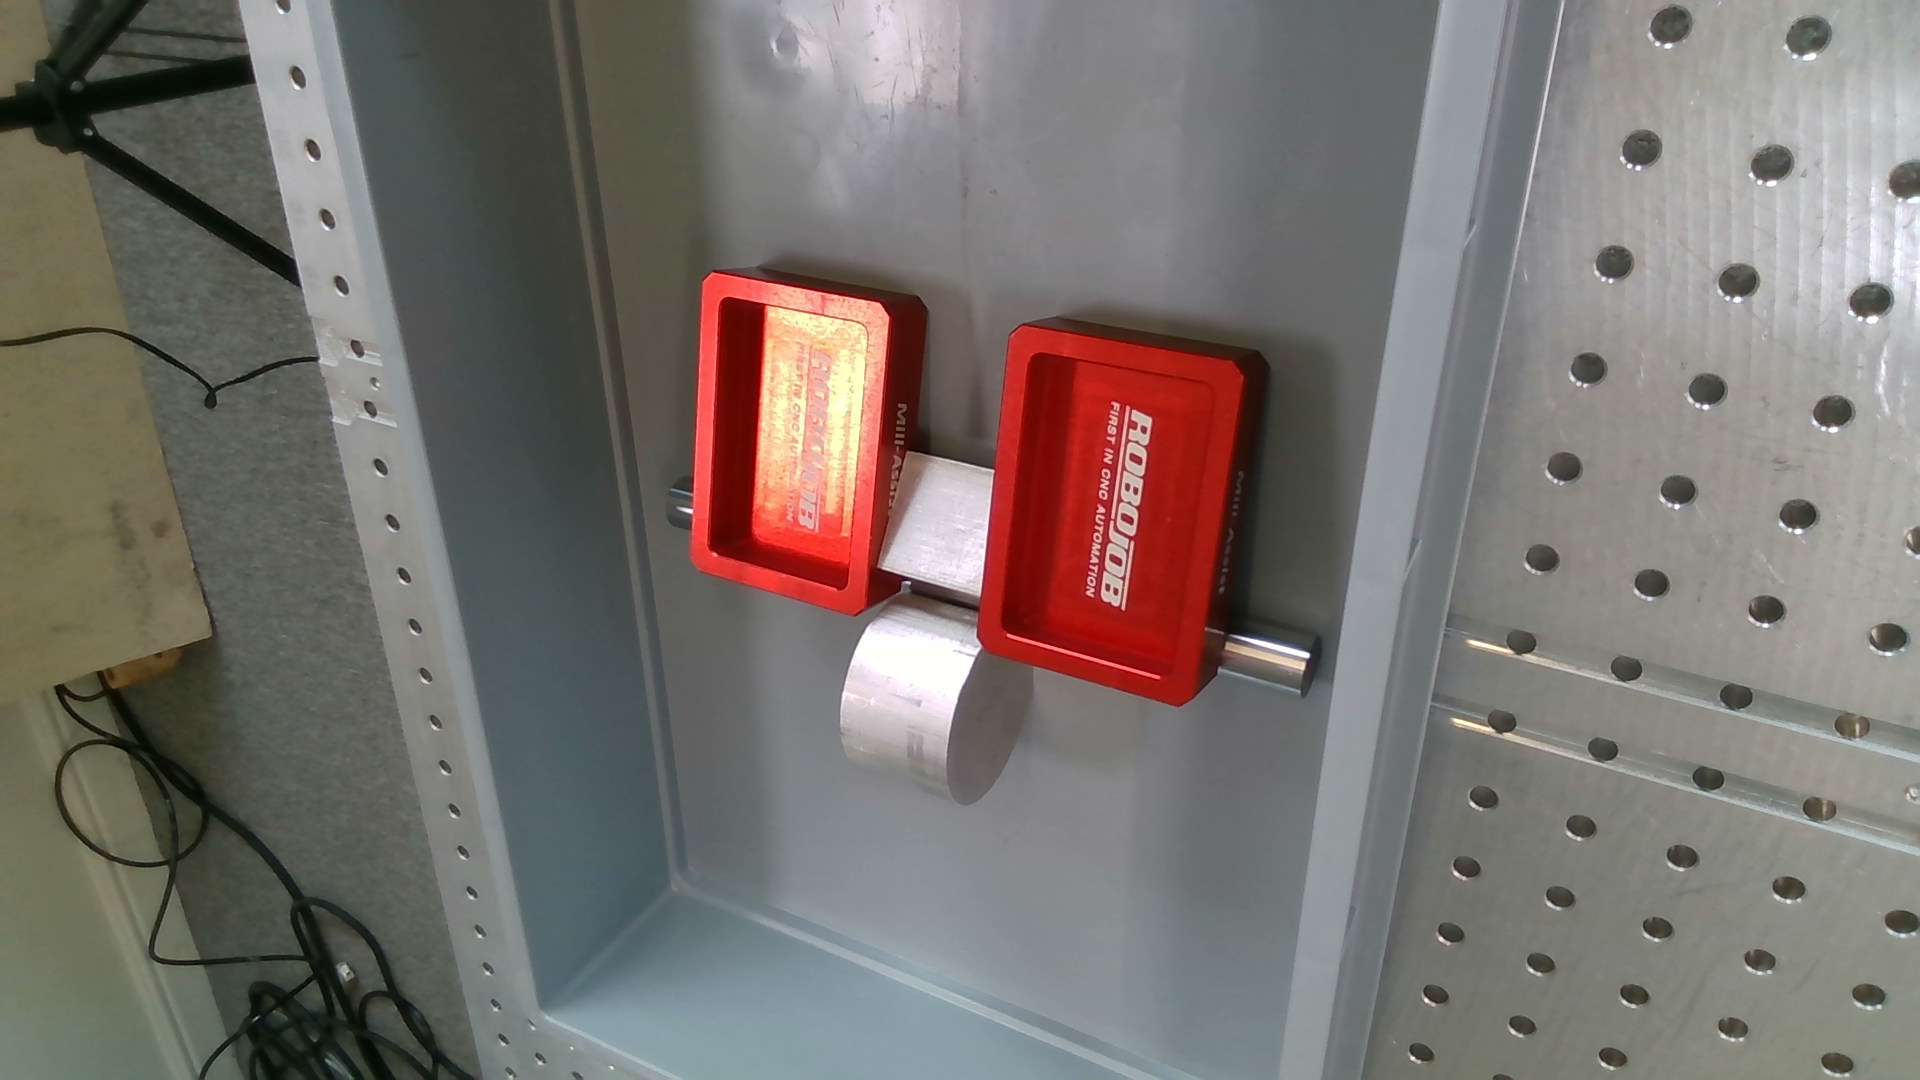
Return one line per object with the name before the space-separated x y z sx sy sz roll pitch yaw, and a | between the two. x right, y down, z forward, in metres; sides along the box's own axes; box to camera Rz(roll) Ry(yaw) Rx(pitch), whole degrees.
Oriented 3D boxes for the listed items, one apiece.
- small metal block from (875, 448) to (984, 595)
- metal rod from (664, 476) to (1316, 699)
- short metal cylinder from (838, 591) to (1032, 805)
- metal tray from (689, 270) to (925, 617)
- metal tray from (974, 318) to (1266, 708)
small metal block | -0.001 -0.006 0.563 0.050 0.025 0.050 15 91 24
metal rod | 0.001 0.015 0.586 0.300 0.025 0.025 14 122 25
short metal cylinder | -0.009 0.066 0.586 0.050 0.080 0.080 14 122 25
metal tray | -0.066 -0.042 0.575 0.090 0.030 0.130 15 110 25
metal tray | 0.057 -0.012 0.516 0.090 0.030 0.130 14 109 25
